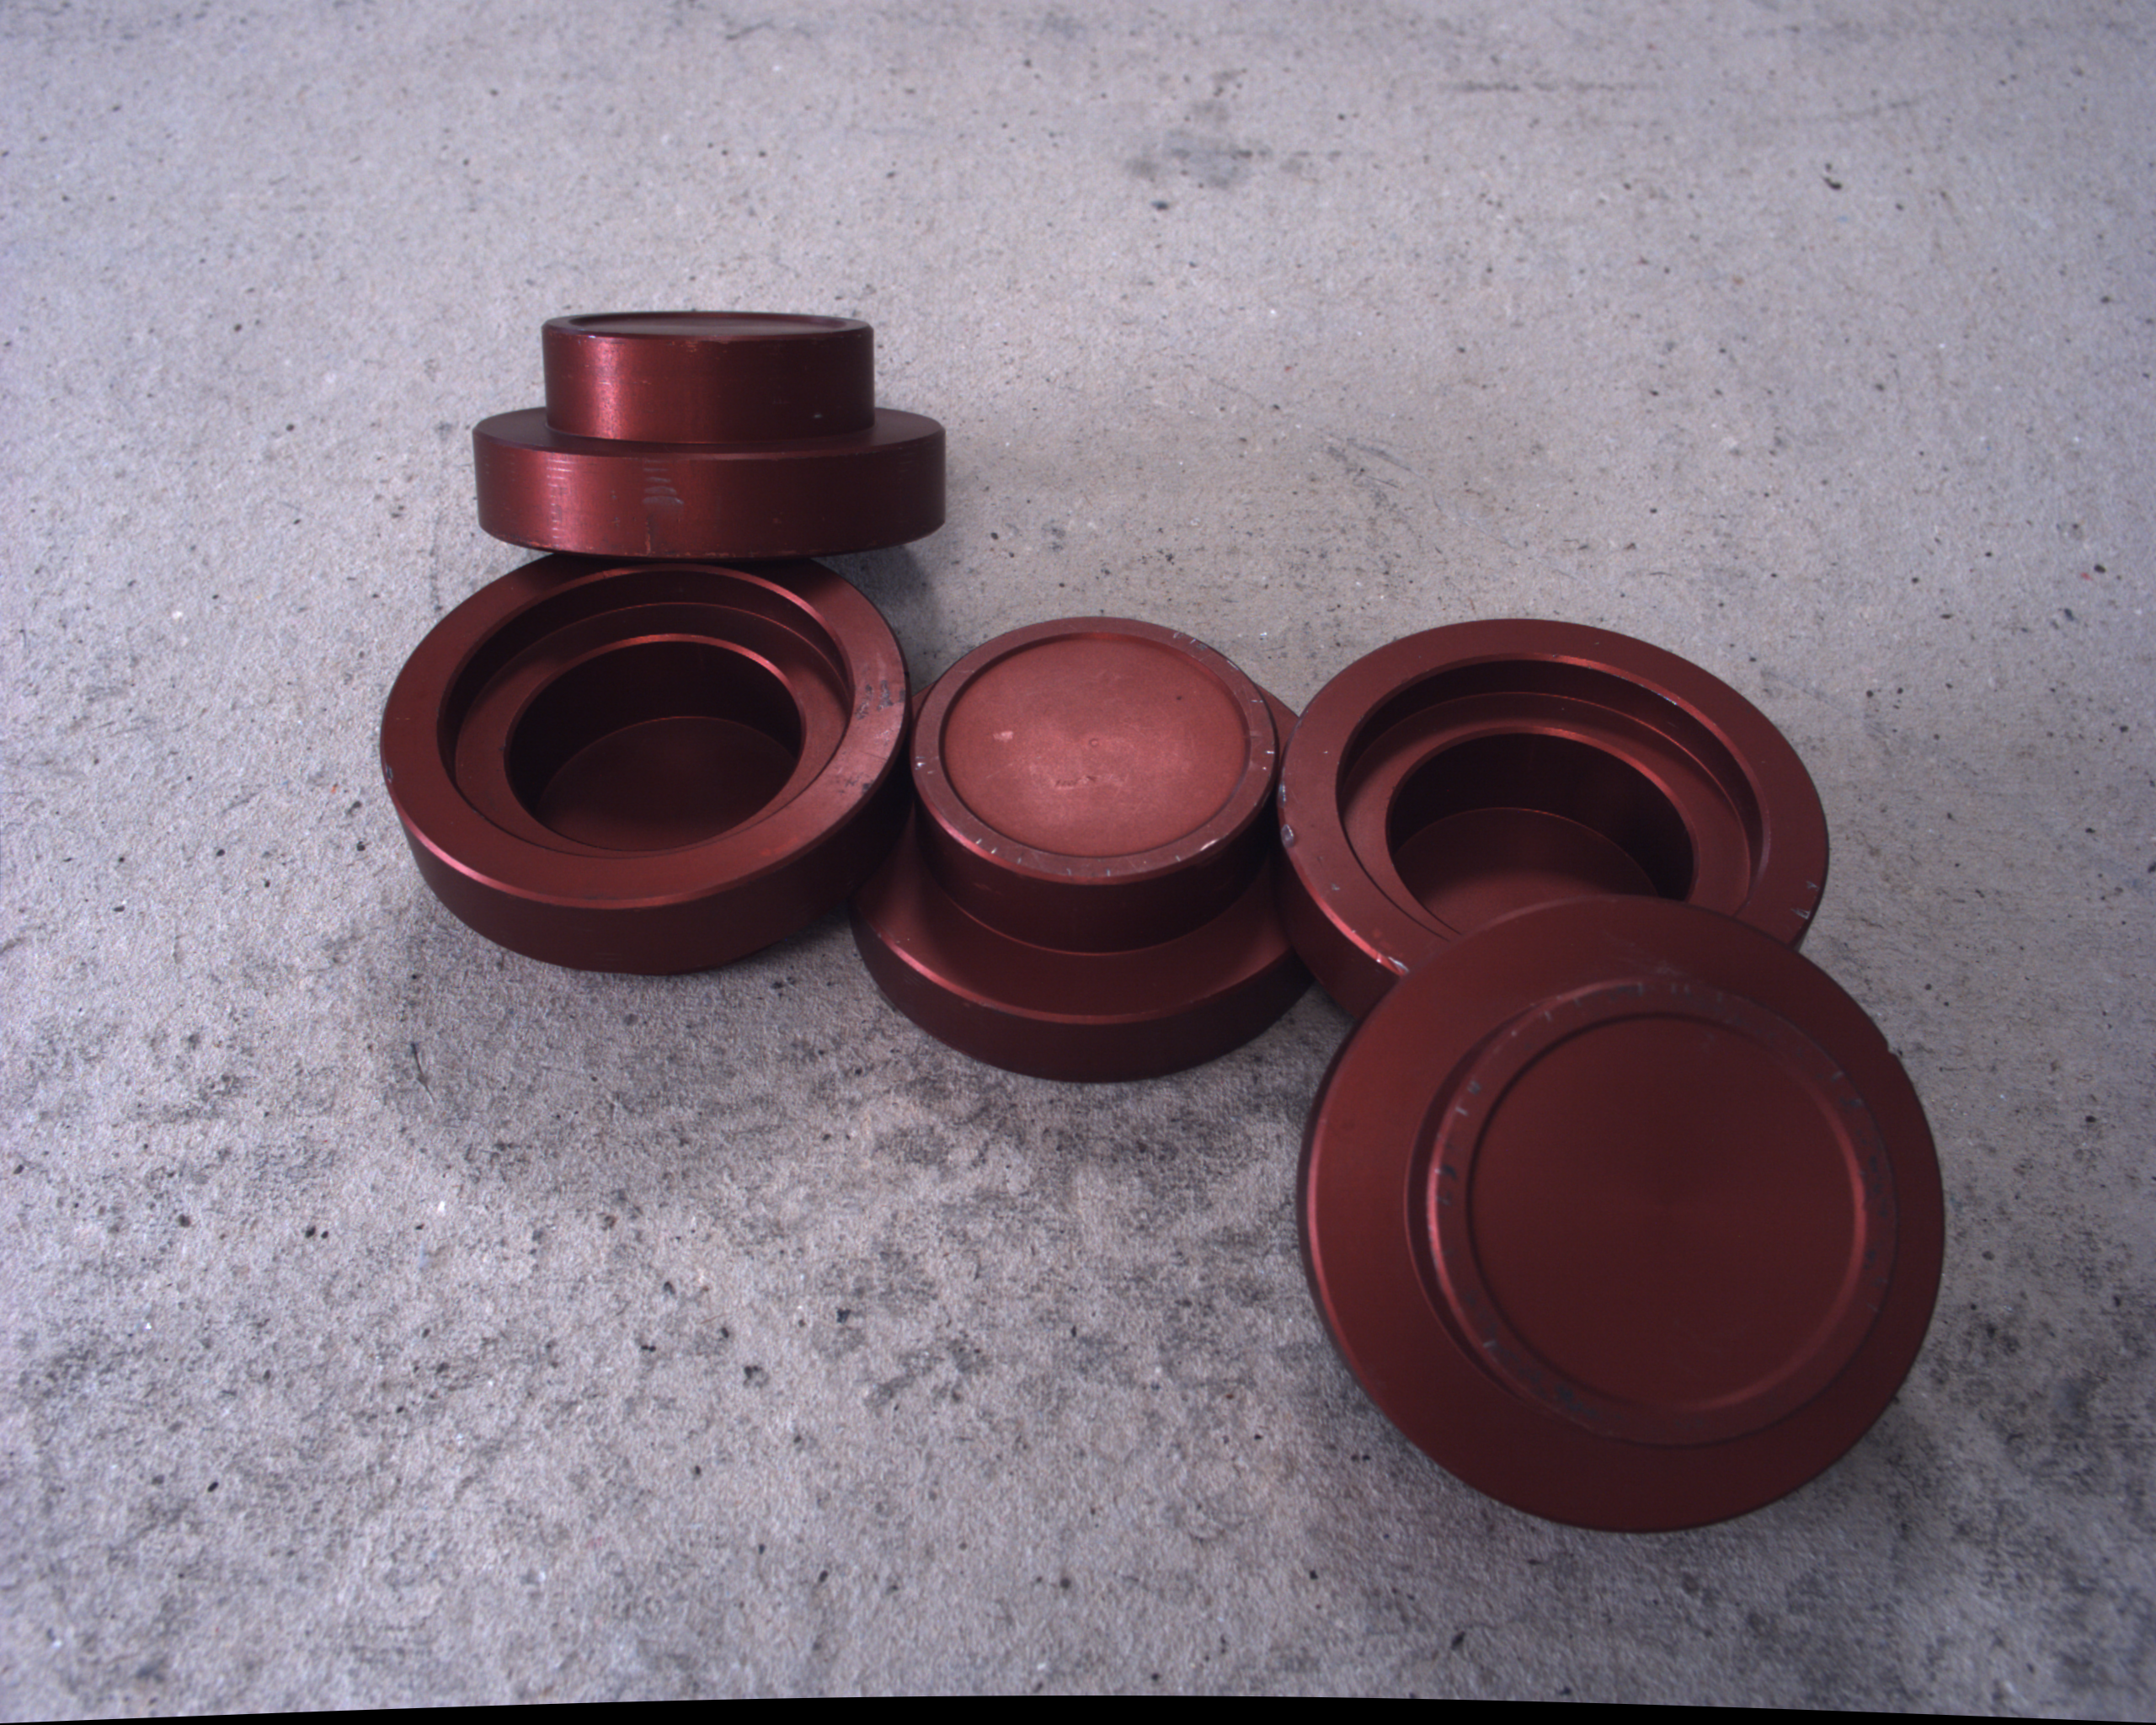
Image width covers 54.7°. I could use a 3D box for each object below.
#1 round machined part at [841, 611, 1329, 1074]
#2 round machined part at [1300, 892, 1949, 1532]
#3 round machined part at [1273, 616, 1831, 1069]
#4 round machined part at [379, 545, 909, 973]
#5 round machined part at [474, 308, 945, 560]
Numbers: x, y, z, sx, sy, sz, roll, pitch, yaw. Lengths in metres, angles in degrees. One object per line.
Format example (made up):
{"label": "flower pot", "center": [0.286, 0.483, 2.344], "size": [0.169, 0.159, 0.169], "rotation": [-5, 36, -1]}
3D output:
{"label": "round machined part", "center": [0.003, -0.011, 0.401], "size": [0.099, 0.042, 0.098], "rotation": [-1, 48, 1]}
{"label": "round machined part", "center": [0.085, 0.052, 0.321], "size": [0.099, 0.042, 0.098], "rotation": [0, 79, 0]}
{"label": "round machined part", "center": [0.085, 0.002, 0.391], "size": [0.099, 0.042, 0.098], "rotation": [0, 50, 1]}
{"label": "round machined part", "center": [-0.081, -0.017, 0.407], "size": [0.099, 0.042, 0.098], "rotation": [0, 50, 1]}
{"label": "round machined part", "center": [-0.077, -0.094, 0.443], "size": [0.099, 0.042, 0.098], "rotation": [1, 19, 0]}
